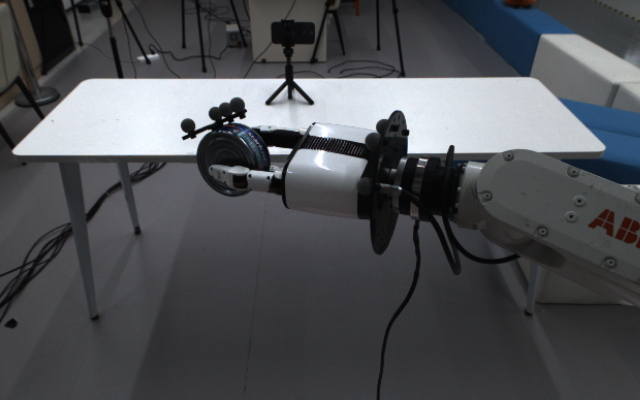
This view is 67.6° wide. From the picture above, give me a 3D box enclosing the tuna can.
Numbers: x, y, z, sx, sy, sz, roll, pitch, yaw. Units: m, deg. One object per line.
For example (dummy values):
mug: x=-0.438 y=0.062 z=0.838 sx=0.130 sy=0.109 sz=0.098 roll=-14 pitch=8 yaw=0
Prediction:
tuna can: x=-0.102 y=-0.042 z=0.586 sx=0.085 sy=0.085 sz=0.034 roll=14 pitch=30 yaw=17
